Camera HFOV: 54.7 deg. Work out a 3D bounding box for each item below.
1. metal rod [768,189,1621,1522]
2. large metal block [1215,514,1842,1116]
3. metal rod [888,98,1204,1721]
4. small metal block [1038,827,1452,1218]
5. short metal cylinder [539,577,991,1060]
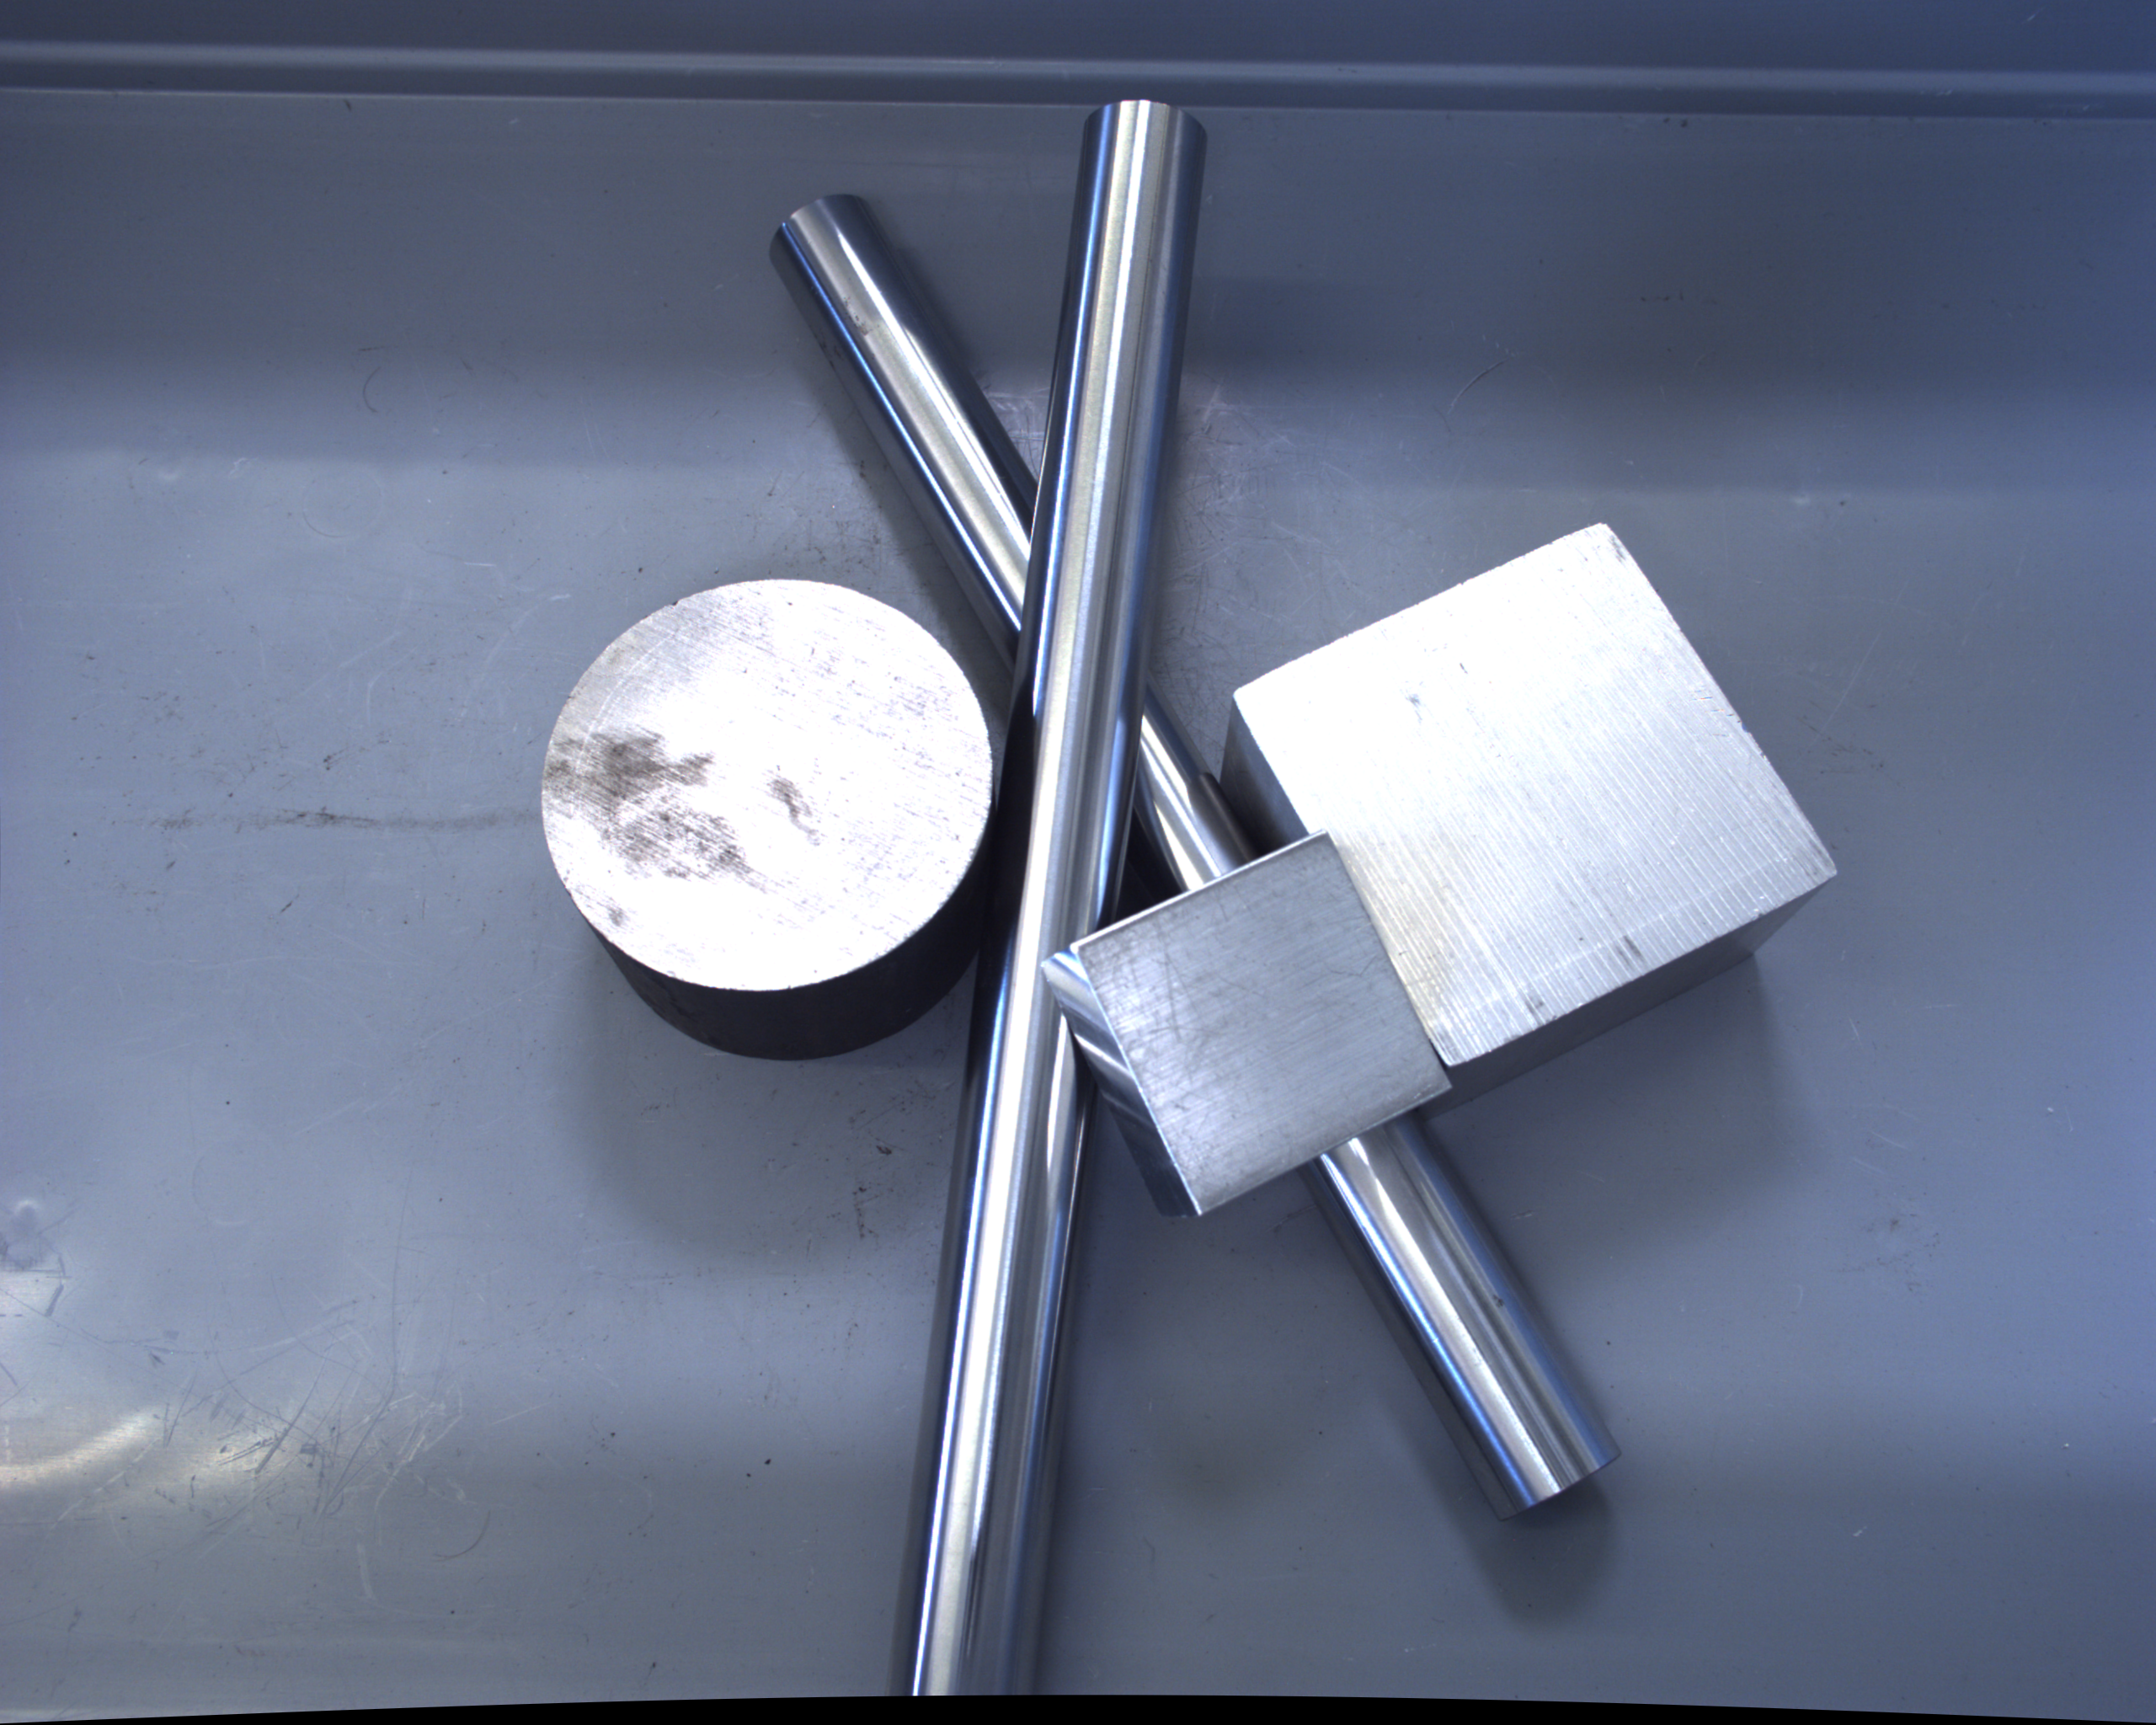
[{"bbox_3d":[0.014,-0.014,0.413,0.025,0.025,0.299,-27,73,-9],"label":"metal rod"},{"bbox_3d":[0.081,-0.007,0.397,0.080,0.050,0.080,-26,72,-9],"label":"large metal block"},{"bbox_3d":[-0.004,-0.001,0.387,0.025,0.025,0.299,6,78,2],"label":"metal rod"},{"bbox_3d":[0.028,0.028,0.364,0.050,0.025,0.050,-24,87,-17],"label":"small metal block"},{"bbox_3d":[-0.056,-0.007,0.397,0.081,0.050,0.080,0,70,-1],"label":"short metal cylinder"}]
